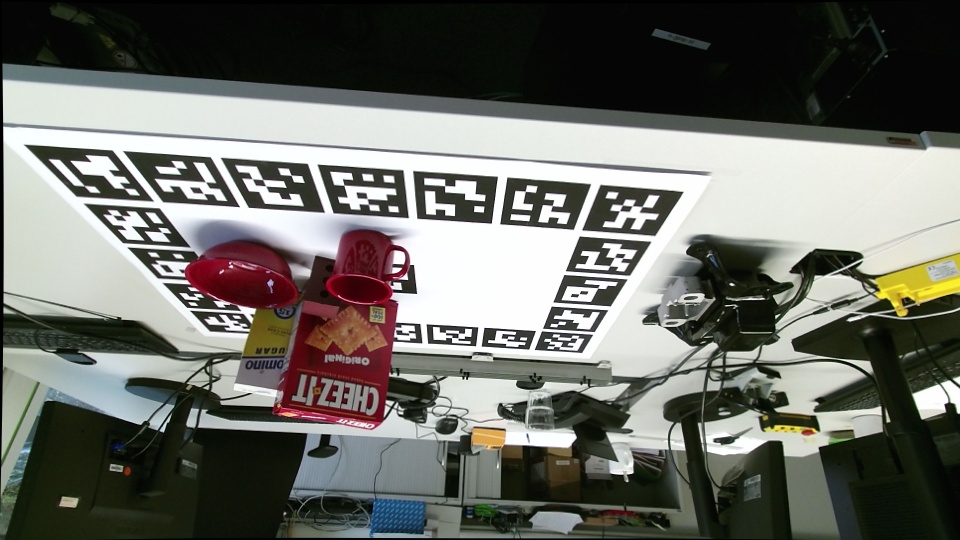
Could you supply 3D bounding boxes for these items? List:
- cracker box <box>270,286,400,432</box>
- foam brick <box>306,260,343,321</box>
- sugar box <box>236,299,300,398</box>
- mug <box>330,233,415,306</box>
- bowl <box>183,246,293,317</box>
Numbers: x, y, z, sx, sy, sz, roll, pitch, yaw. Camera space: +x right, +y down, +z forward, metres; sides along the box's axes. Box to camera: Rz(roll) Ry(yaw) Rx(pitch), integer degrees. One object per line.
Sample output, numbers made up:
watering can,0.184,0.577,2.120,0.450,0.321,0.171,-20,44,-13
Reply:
cracker box,-0.233,0.146,0.893,0.165,0.212,0.072,21,147,-27
foam brick,-0.239,0.033,0.842,0.053,0.077,0.051,11,149,-16
sugar box,-0.344,0.131,0.908,0.093,0.175,0.045,15,147,-21
mug,-0.151,-0.001,0.760,0.117,0.081,0.093,-2,157,4
bowl,-0.360,0.012,0.808,0.162,0.055,0.162,2,148,1
